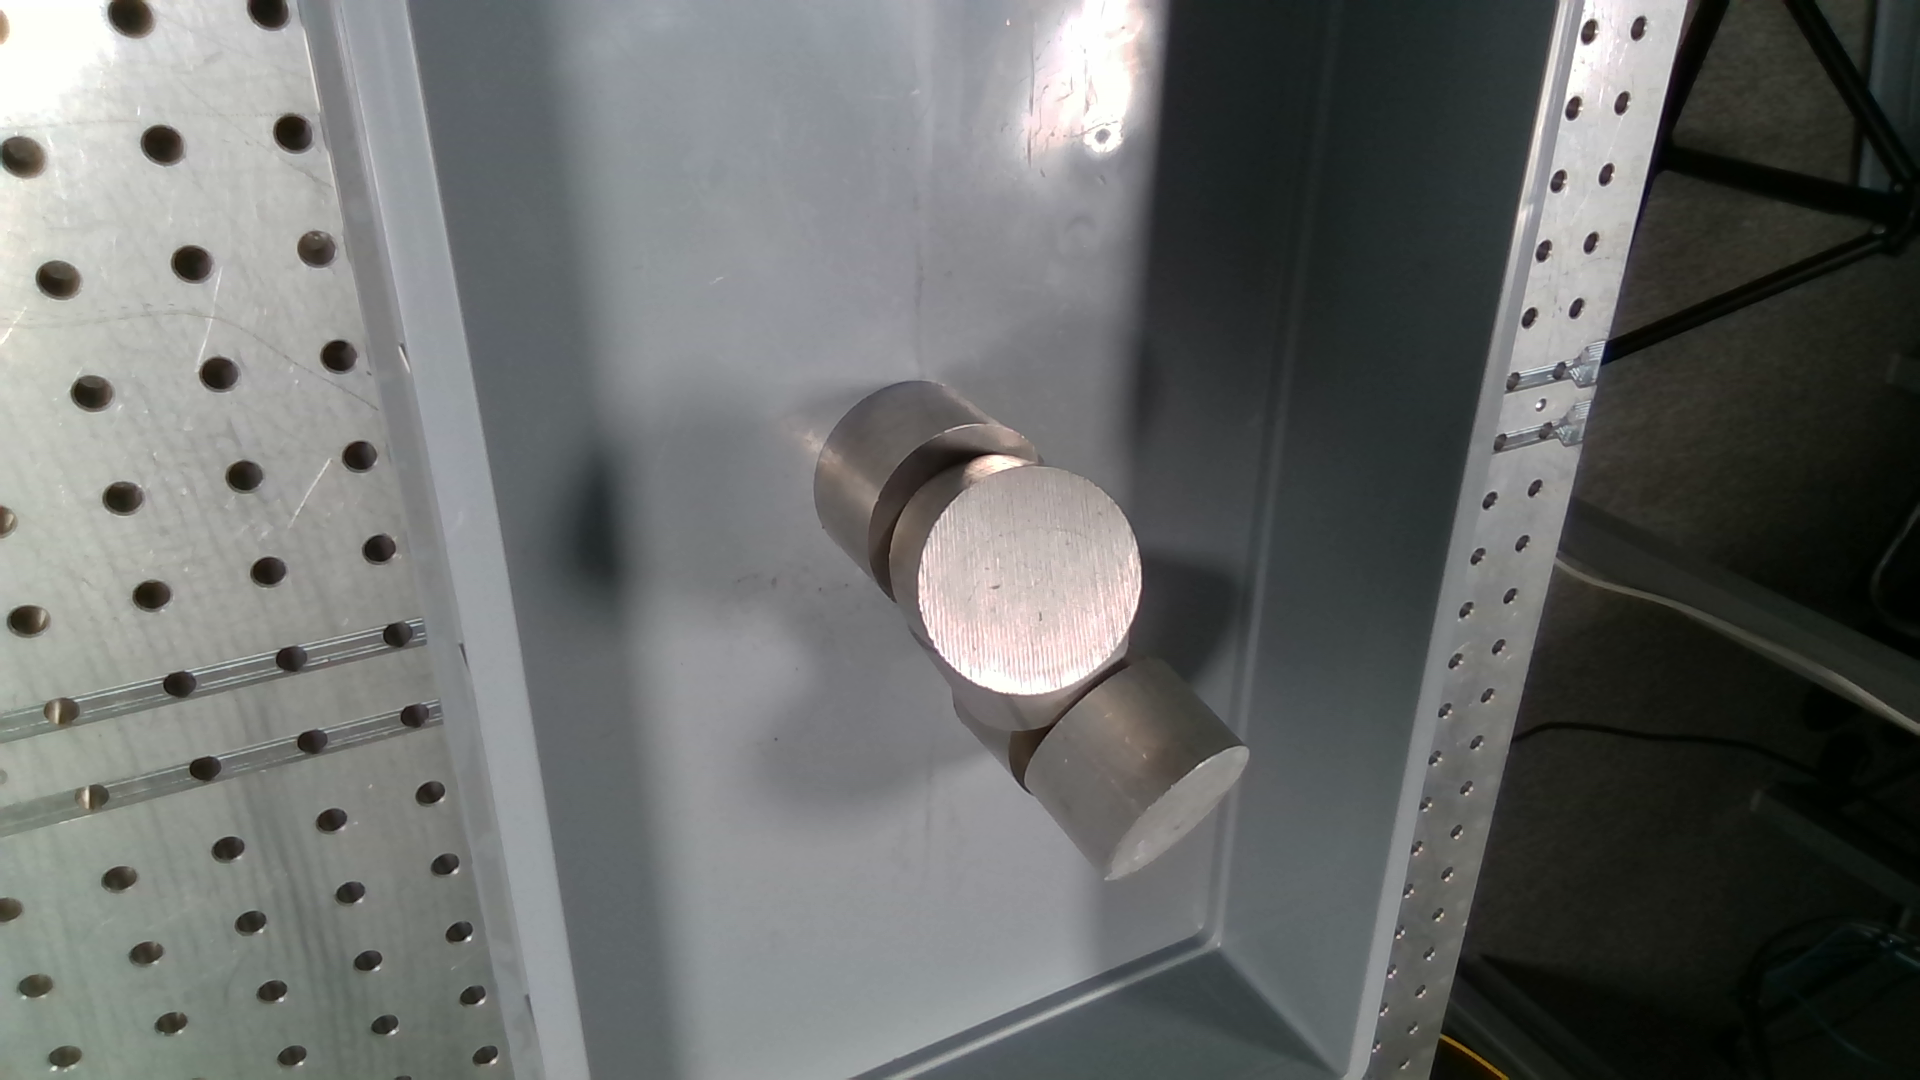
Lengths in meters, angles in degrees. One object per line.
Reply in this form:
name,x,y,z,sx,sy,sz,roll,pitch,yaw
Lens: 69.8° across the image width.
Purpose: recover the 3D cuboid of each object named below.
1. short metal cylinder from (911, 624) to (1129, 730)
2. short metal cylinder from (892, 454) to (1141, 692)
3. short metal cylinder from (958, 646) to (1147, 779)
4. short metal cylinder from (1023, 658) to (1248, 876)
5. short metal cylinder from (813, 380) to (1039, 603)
short metal cylinder,0.024,0.032,0.576,0.080,0.080,0.050,-40,129,-7
short metal cylinder,0.019,0.010,0.497,0.080,0.050,0.080,-2,98,-14
short metal cylinder,0.044,0.070,0.627,0.080,0.050,0.080,-14,122,-25
short metal cylinder,0.073,0.095,0.575,0.080,0.050,0.080,-32,152,-20
short metal cylinder,-0.012,-0.017,0.546,0.080,0.050,0.080,-14,122,-25
